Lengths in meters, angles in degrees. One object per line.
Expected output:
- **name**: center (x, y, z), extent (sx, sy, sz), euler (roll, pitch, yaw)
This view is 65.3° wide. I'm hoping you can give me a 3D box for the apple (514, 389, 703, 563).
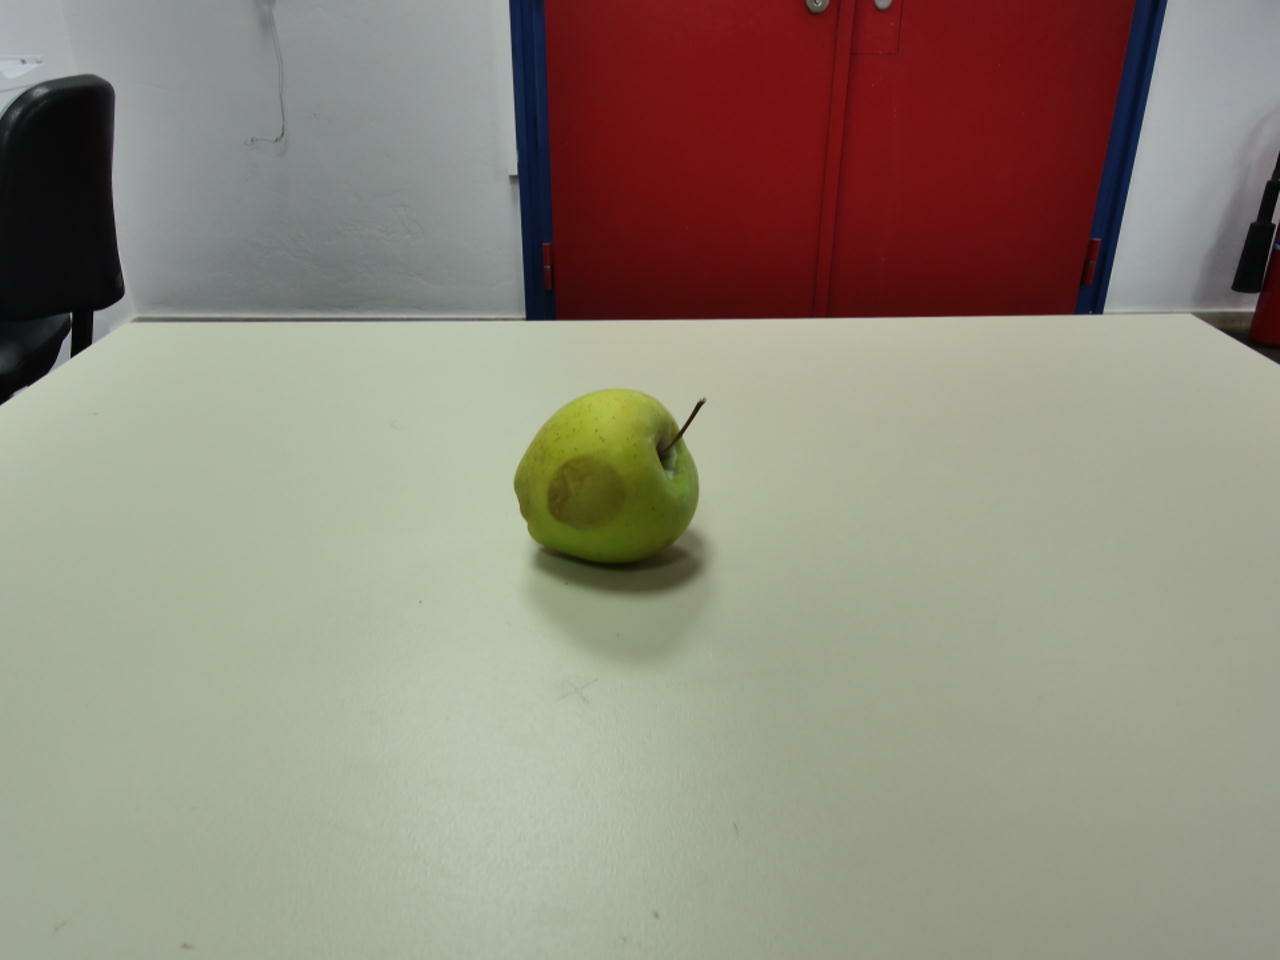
- **apple**: center (-0.013, -0.002, 0.434), extent (0.077, 0.075, 0.072), euler (22, 32, 39)
